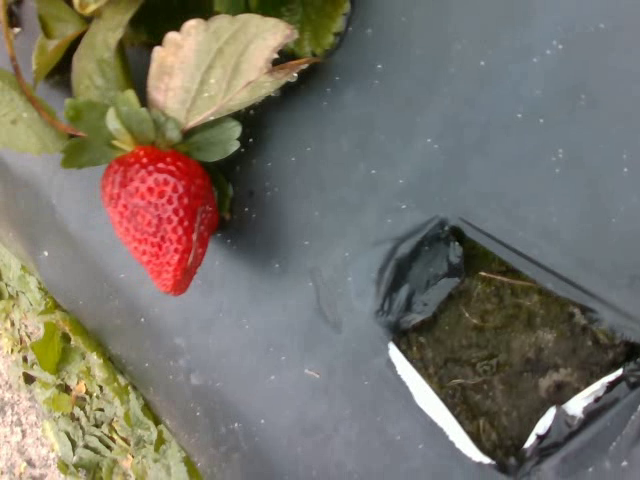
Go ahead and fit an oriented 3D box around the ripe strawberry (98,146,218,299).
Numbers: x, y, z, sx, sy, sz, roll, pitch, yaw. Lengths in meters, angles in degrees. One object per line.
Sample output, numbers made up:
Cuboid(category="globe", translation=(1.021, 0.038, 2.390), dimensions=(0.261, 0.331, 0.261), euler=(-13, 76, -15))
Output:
Cuboid(category="ripe strawberry", translation=(-0.058, -0.006, 0.234), dimensions=(0.048, 0.064, 0.046), euler=(-8, -17, 2))
